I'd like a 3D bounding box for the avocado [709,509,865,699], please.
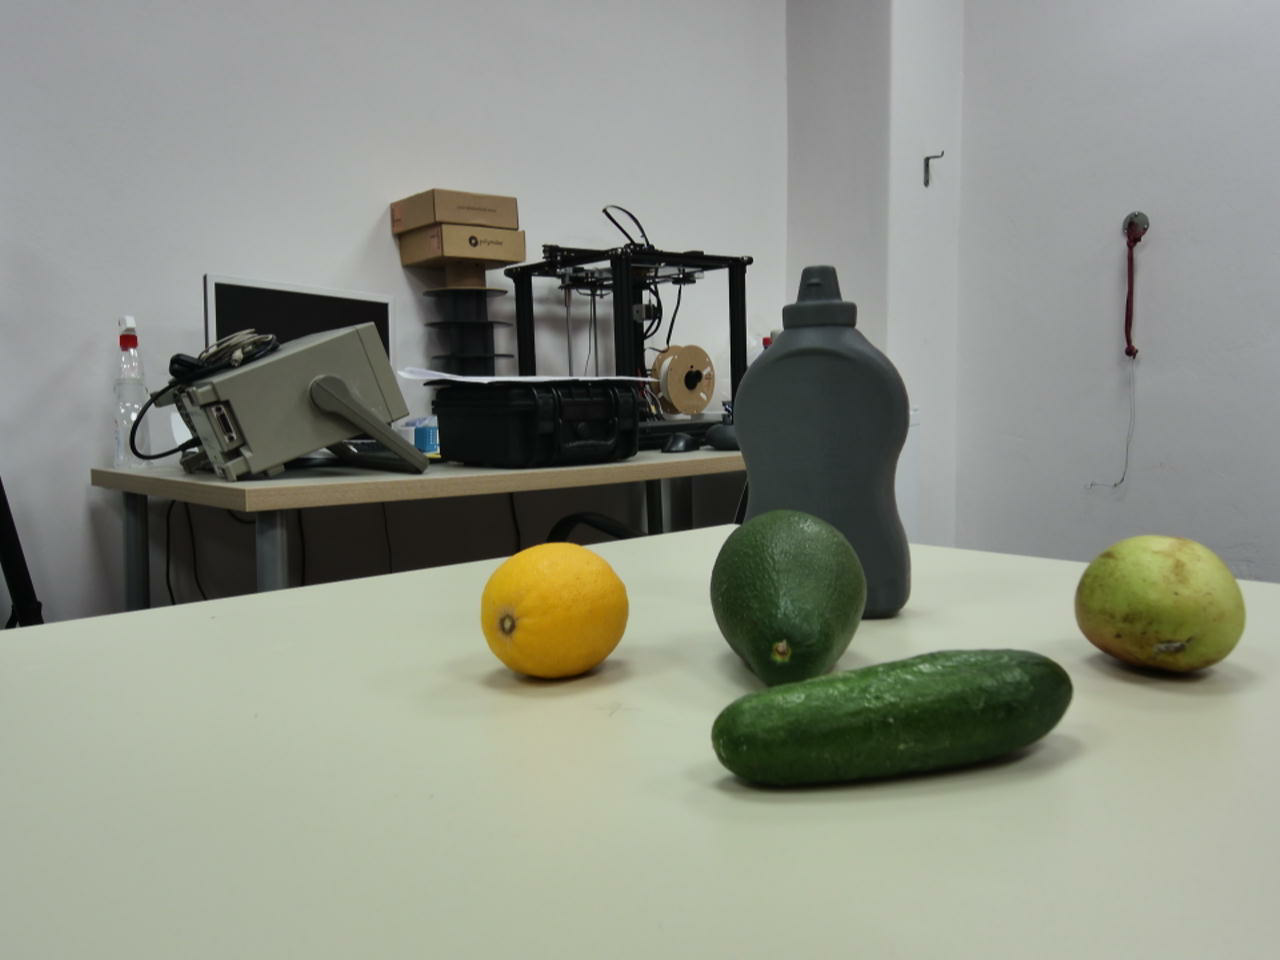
[{"bbox_3d":[0.062,0.051,0.449,0.073,0.071,0.109,1,3,27],"label":"avocado"}]
